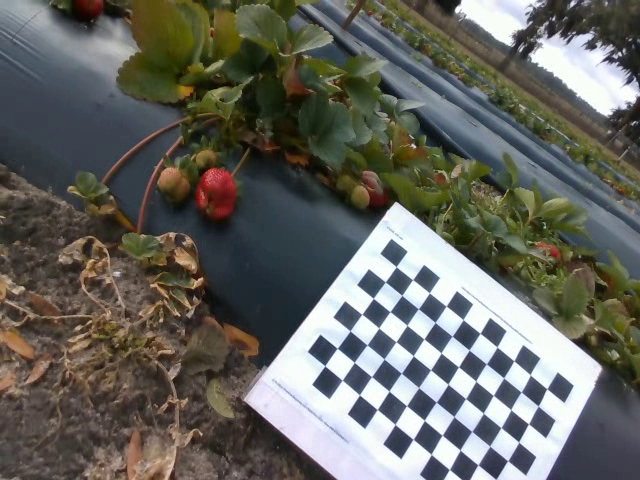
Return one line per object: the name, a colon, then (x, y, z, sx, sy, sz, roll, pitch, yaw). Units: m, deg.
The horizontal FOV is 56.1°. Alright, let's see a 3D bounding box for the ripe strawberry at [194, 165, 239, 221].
ripe strawberry: (-0.119, -0.060, 0.702, 0.066, 0.075, 0.053, 22, -21, -7)
